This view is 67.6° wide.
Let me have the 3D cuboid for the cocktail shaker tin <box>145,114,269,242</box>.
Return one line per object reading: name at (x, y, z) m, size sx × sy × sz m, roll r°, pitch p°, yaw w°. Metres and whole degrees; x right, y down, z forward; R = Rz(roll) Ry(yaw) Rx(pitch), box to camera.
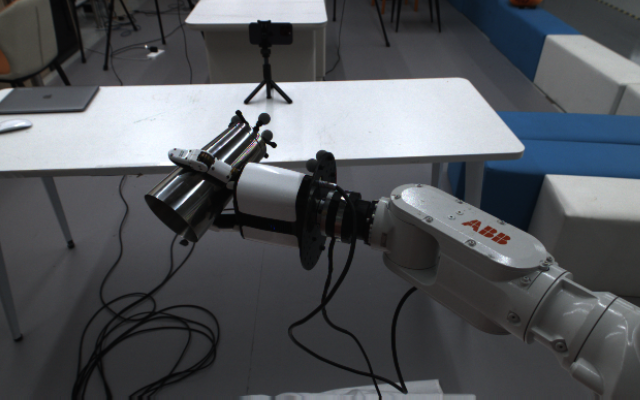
cocktail shaker tin at (-0.154, -0.039, 0.685) m, size 0.093 × 0.093 × 0.170 m, roll 23°, pitch 57°, yaw 27°
